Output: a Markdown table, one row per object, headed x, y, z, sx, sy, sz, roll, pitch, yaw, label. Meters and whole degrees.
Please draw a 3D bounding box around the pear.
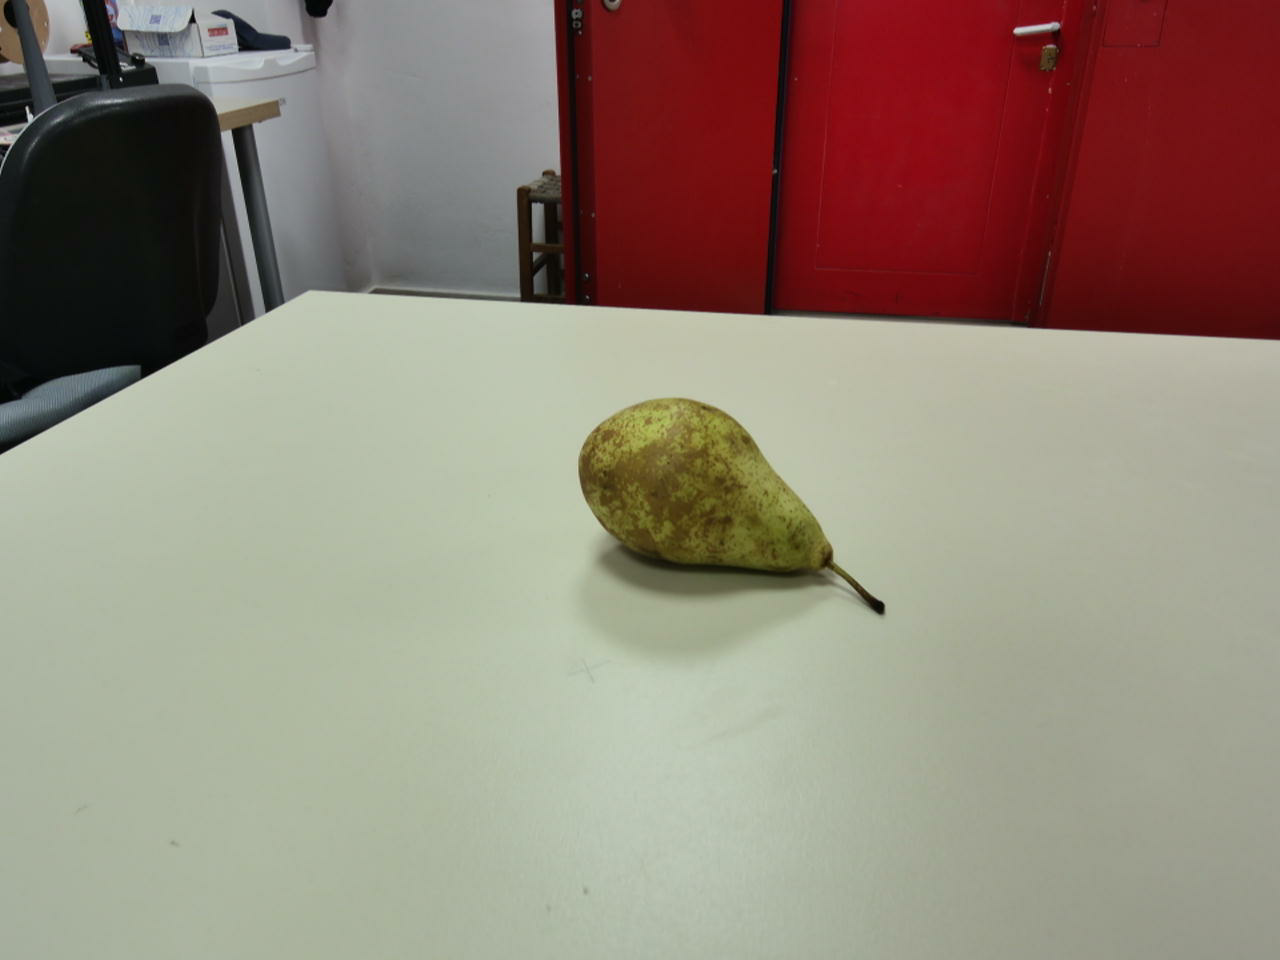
| x | y | z | sx | sy | sz | roll | pitch | yaw | label |
| --- | --- | --- | --- | --- | --- | --- | --- | --- | --- |
| 0.038 | 0.003 | 0.430 | 0.128 | 0.075 | 0.071 | 2 | 24 | 5 | pear |
